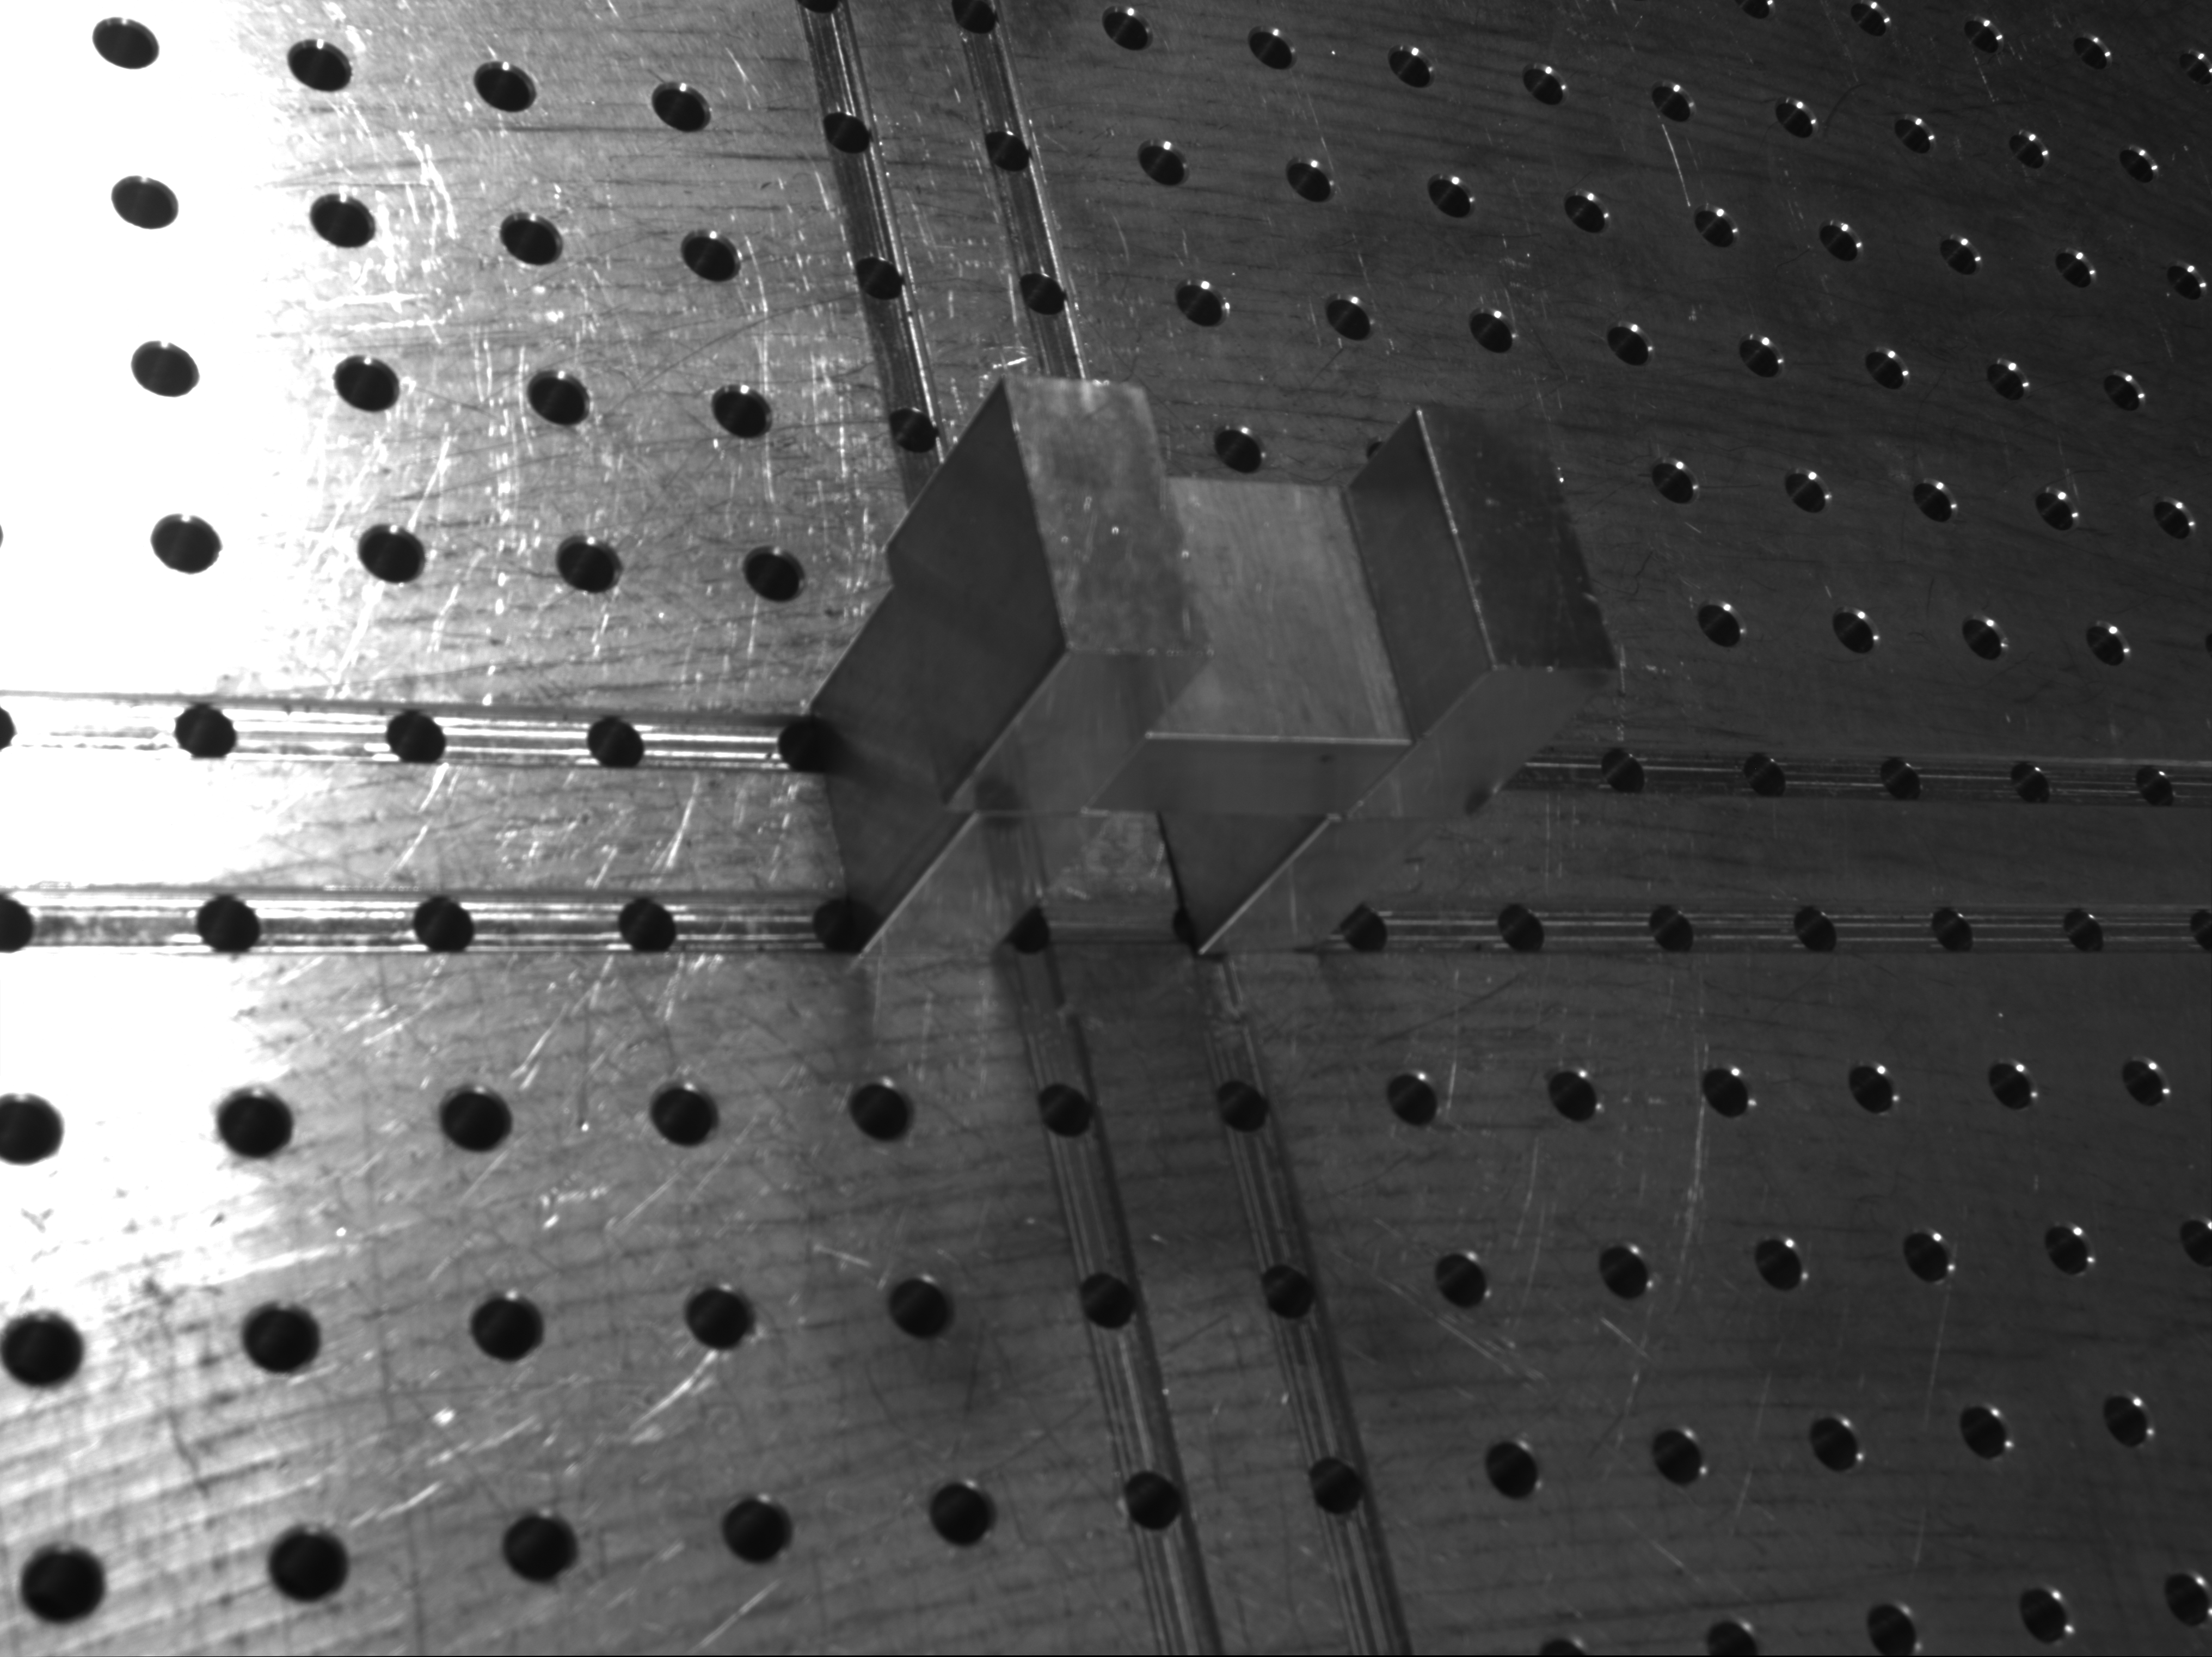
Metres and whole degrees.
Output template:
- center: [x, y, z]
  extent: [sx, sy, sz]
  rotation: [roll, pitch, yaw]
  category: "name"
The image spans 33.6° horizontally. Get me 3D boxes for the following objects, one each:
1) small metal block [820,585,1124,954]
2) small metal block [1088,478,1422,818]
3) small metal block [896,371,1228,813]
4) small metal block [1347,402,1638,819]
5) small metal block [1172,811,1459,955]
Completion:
- center: [-0.024, -0.012, 0.621]
  extent: [0.025, 0.050, 0.050]
  rotation: [1, 61, -28]
  category: "small metal block"
- center: [0.019, -0.030, 0.608]
  extent: [0.050, 0.025, 0.050]
  rotation: [1, 61, -28]
  category: "small metal block"
- center: [-0.008, -0.037, 0.579]
  extent: [0.025, 0.050, 0.050]
  rotation: [1, 61, -27]
  category: "small metal block"
- center: [0.059, -0.036, 0.614]
  extent: [0.025, 0.050, 0.050]
  rotation: [1, 61, -27]
  category: "small metal block"
- center: [0.034, -0.011, 0.651]
  extent: [0.025, 0.050, 0.050]
  rotation: [-1, 62, -28]
  category: "small metal block"
